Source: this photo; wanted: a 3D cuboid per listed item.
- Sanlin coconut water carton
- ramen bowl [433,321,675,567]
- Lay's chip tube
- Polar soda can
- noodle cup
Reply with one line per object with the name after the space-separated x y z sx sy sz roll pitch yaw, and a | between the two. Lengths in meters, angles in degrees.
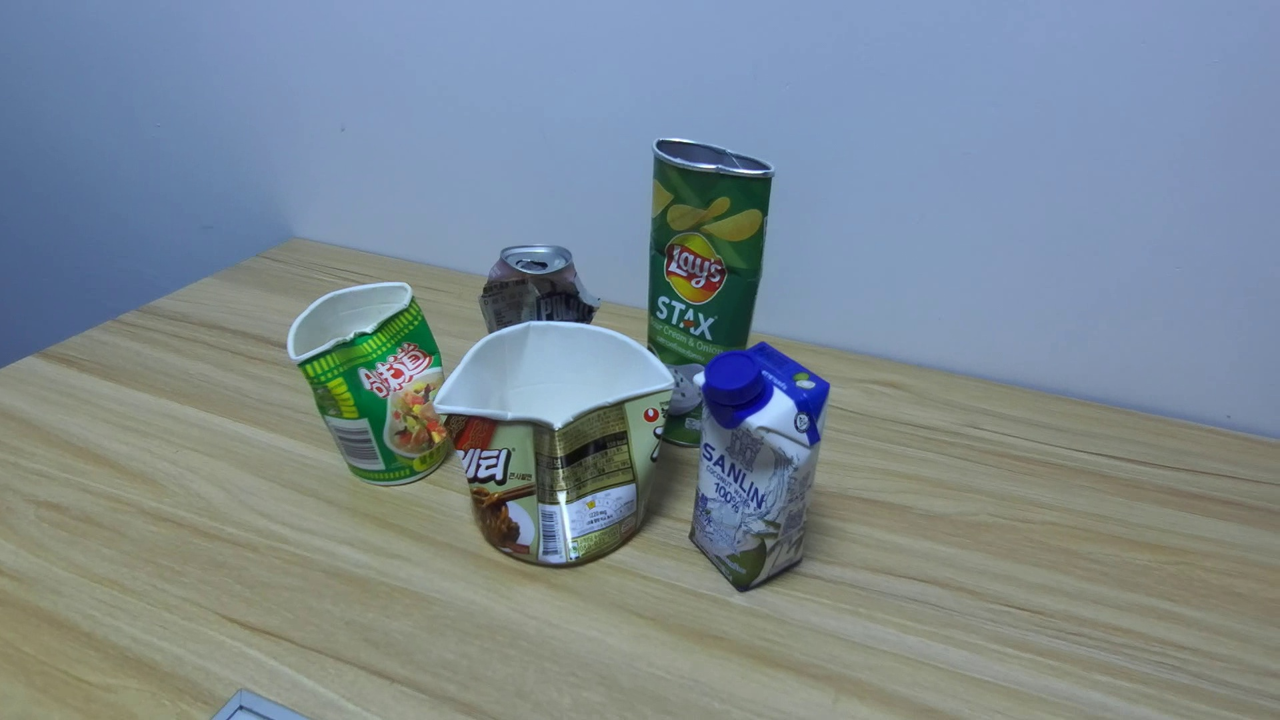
0.061 0.055 0.385 0.058 0.142 0.077 -22 38 -25 | Sanlin coconut water carton
-0.046 0.046 0.437 0.137 0.098 0.137 2 31 -1 | ramen bowl
0.041 -0.038 0.474 0.075 0.199 0.069 4 30 4 | Lay's chip tube
-0.075 -0.031 0.545 0.070 0.114 0.074 24 39 28 | Polar soda can
-0.168 0.017 0.465 0.083 0.122 0.075 -26 33 -22 | noodle cup
